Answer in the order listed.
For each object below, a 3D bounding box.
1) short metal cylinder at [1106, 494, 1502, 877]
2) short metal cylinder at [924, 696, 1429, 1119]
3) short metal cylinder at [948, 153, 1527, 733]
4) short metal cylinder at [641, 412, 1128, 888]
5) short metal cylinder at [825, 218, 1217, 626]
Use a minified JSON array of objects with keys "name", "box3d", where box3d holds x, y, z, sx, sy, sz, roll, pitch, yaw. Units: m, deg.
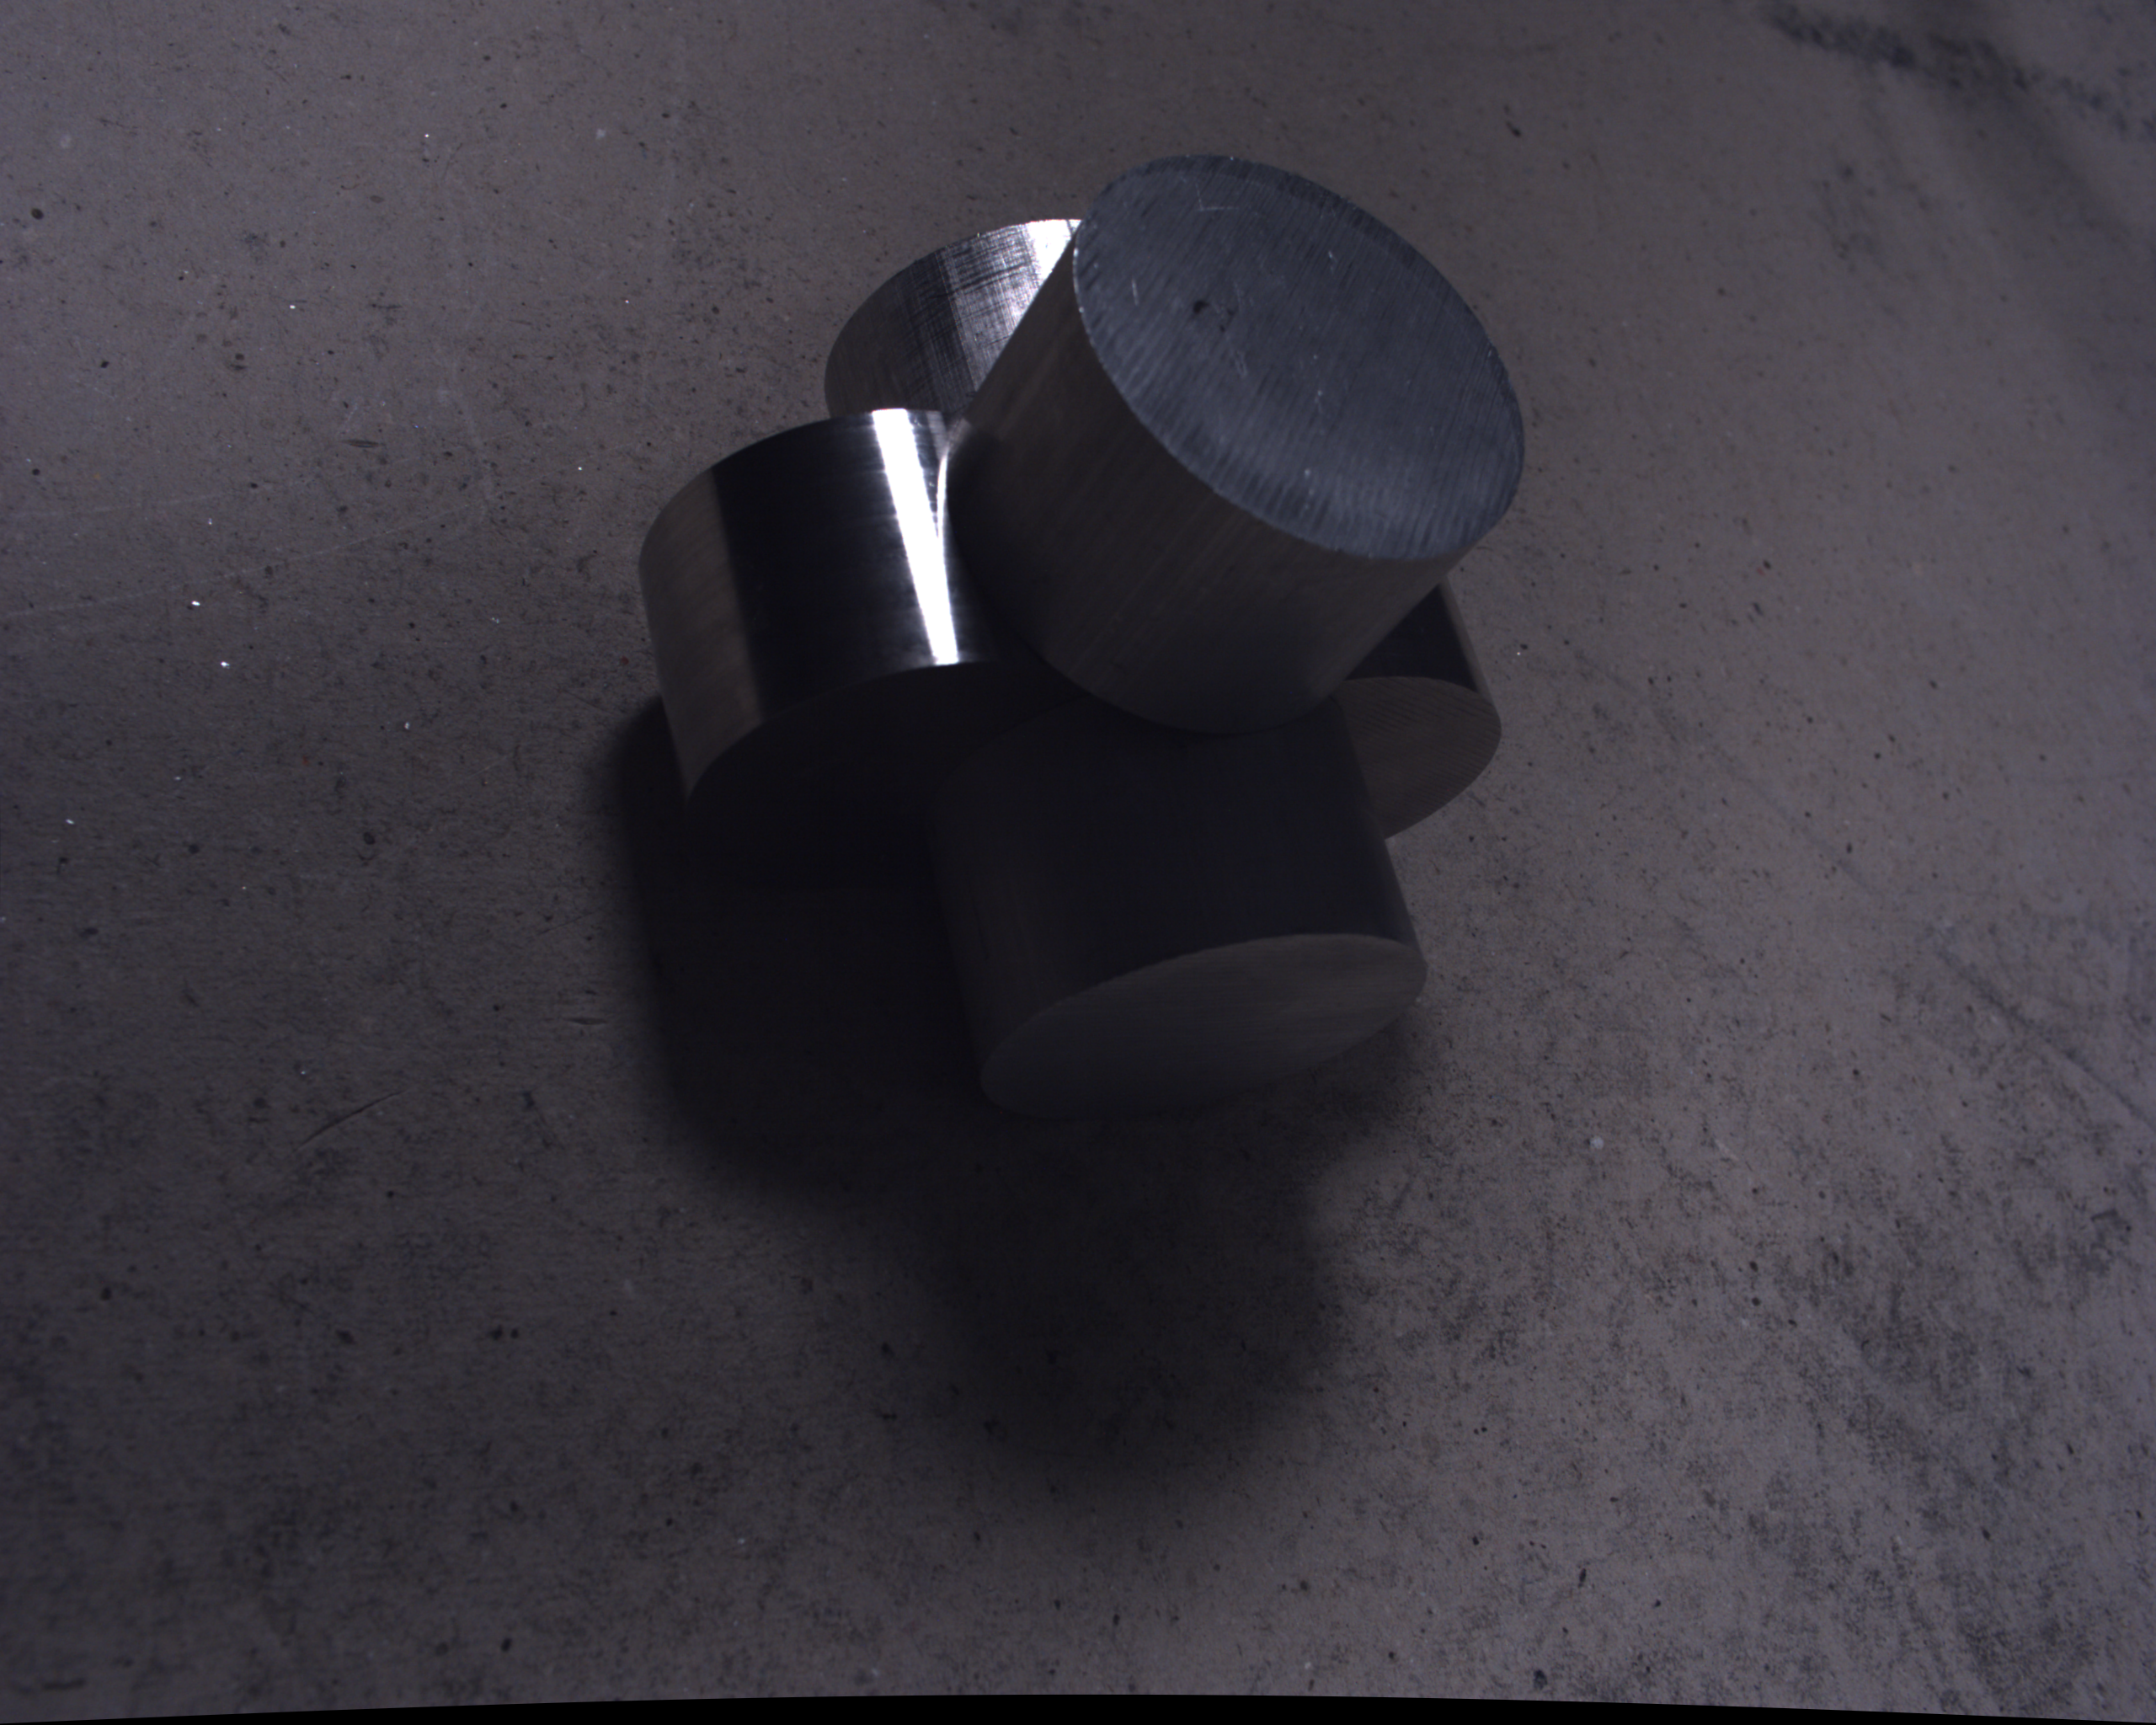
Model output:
[{"name":"short metal cylinder","box3d":[0.037,-0.036,0.414,0.081,0.080,0.050,0,62,-29]},{"name":"short metal cylinder","box3d":[0.017,0.008,0.376,0.081,0.080,0.050,0,62,-29]},{"name":"short metal cylinder","box3d":[0.025,-0.068,0.343,0.081,0.050,0.080,14,56,-21]},{"name":"short metal cylinder","box3d":[-0.034,-0.036,0.375,0.081,0.080,0.050,-1,63,-29]},{"name":"short metal cylinder","box3d":[-0.006,-0.082,0.418,0.081,0.080,0.050,-2,63,-30]}]
